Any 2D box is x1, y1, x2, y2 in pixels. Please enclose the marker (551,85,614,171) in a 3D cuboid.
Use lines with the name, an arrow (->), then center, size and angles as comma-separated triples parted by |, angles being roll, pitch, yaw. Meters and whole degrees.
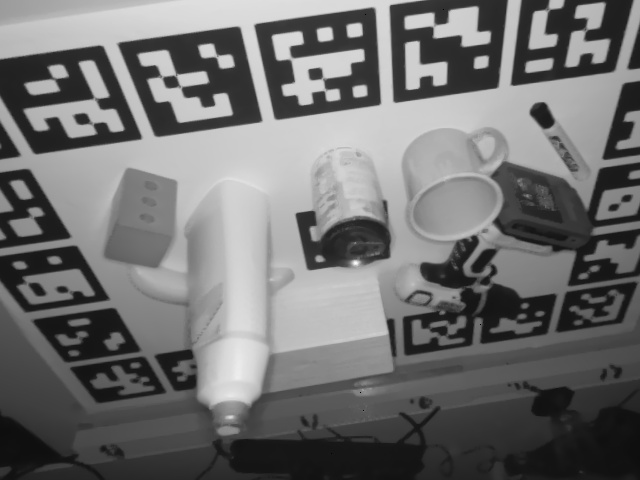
marker -> 0.262, -0.111, 0.692 | 0.019, 0.020, 0.122 | -33, 130, 21

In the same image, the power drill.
power drill -> 0.216, 0.012, 0.788 | 0.186, 0.058, 0.184 | 14, 133, -17

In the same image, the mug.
mug -> 0.151, -0.068, 0.671 | 0.094, 0.082, 0.115 | 26, 124, -27

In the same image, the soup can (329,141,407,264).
soup can -> 0.045, -0.038, 0.665 | 0.068, 0.103, 0.067 | -3, 140, -2

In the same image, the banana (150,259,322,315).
banana -> -0.097, 0.052, 0.787 | 0.198, 0.039, 0.073 | 4, 121, -9

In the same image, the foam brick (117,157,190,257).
foam brick -> -0.160, -0.032, 0.671 | 0.053, 0.078, 0.050 | 15, 134, -24

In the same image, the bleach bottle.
bleach bottle -> -0.069, 0.051, 0.641 | 0.068, 0.252, 0.101 | 13, 134, -19

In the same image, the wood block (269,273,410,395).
wood block -> -0.004, 0.116, 0.834 | 0.206, 0.091, 0.089 | -9, 135, 2
